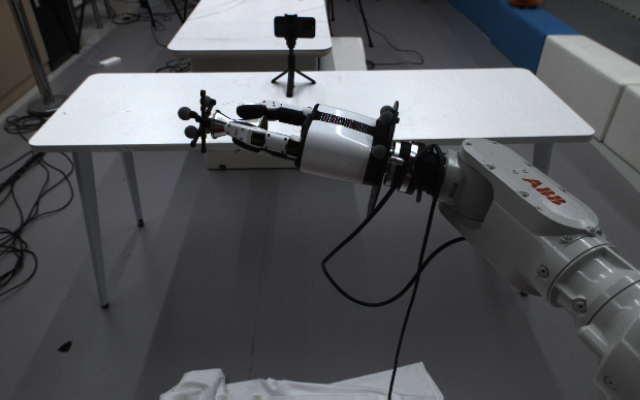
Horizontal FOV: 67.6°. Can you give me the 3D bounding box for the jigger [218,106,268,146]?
[{"bbox_3d":[-0.102,-0.103,0.659,0.071,0.043,0.043,8,35,6],"label":"jigger"}]
